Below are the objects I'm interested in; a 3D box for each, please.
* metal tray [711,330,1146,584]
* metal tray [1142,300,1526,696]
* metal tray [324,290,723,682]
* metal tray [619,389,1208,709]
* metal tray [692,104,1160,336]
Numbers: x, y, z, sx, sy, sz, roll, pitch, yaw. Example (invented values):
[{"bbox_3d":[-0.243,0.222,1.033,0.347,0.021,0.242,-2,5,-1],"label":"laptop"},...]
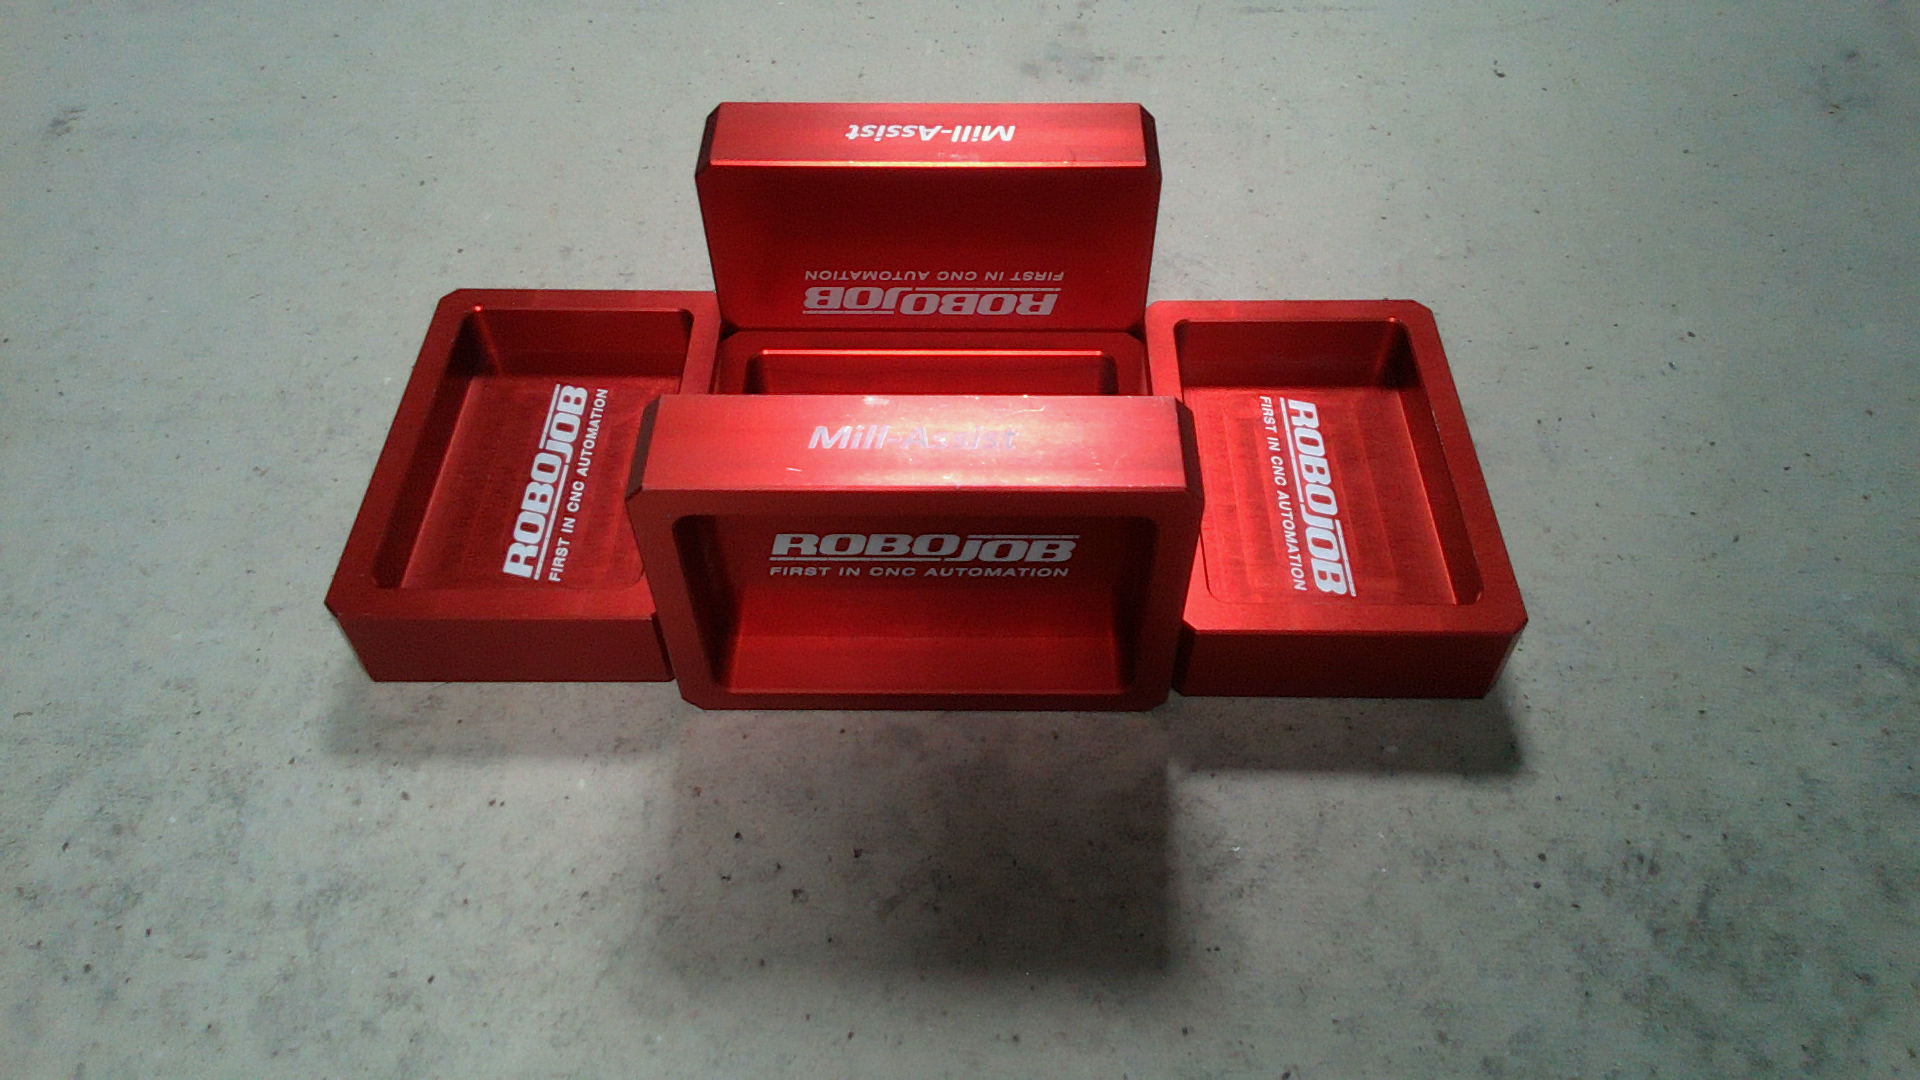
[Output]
[{"bbox_3d":[-0.010,-0.021,0.406,0.130,0.030,0.090,1,50,1],"label":"metal tray"},{"bbox_3d":[0.101,-0.017,0.403,0.090,0.030,0.130,0,50,0],"label":"metal tray"},{"bbox_3d":[-0.119,-0.020,0.405,0.090,0.030,0.130,0,50,0],"label":"metal tray"},{"bbox_3d":[-0.010,0.005,0.343,0.130,0.090,0.030,0,50,0],"label":"metal tray"},{"bbox_3d":[-0.009,-0.086,0.422,0.130,0.090,0.030,0,50,0],"label":"metal tray"}]
